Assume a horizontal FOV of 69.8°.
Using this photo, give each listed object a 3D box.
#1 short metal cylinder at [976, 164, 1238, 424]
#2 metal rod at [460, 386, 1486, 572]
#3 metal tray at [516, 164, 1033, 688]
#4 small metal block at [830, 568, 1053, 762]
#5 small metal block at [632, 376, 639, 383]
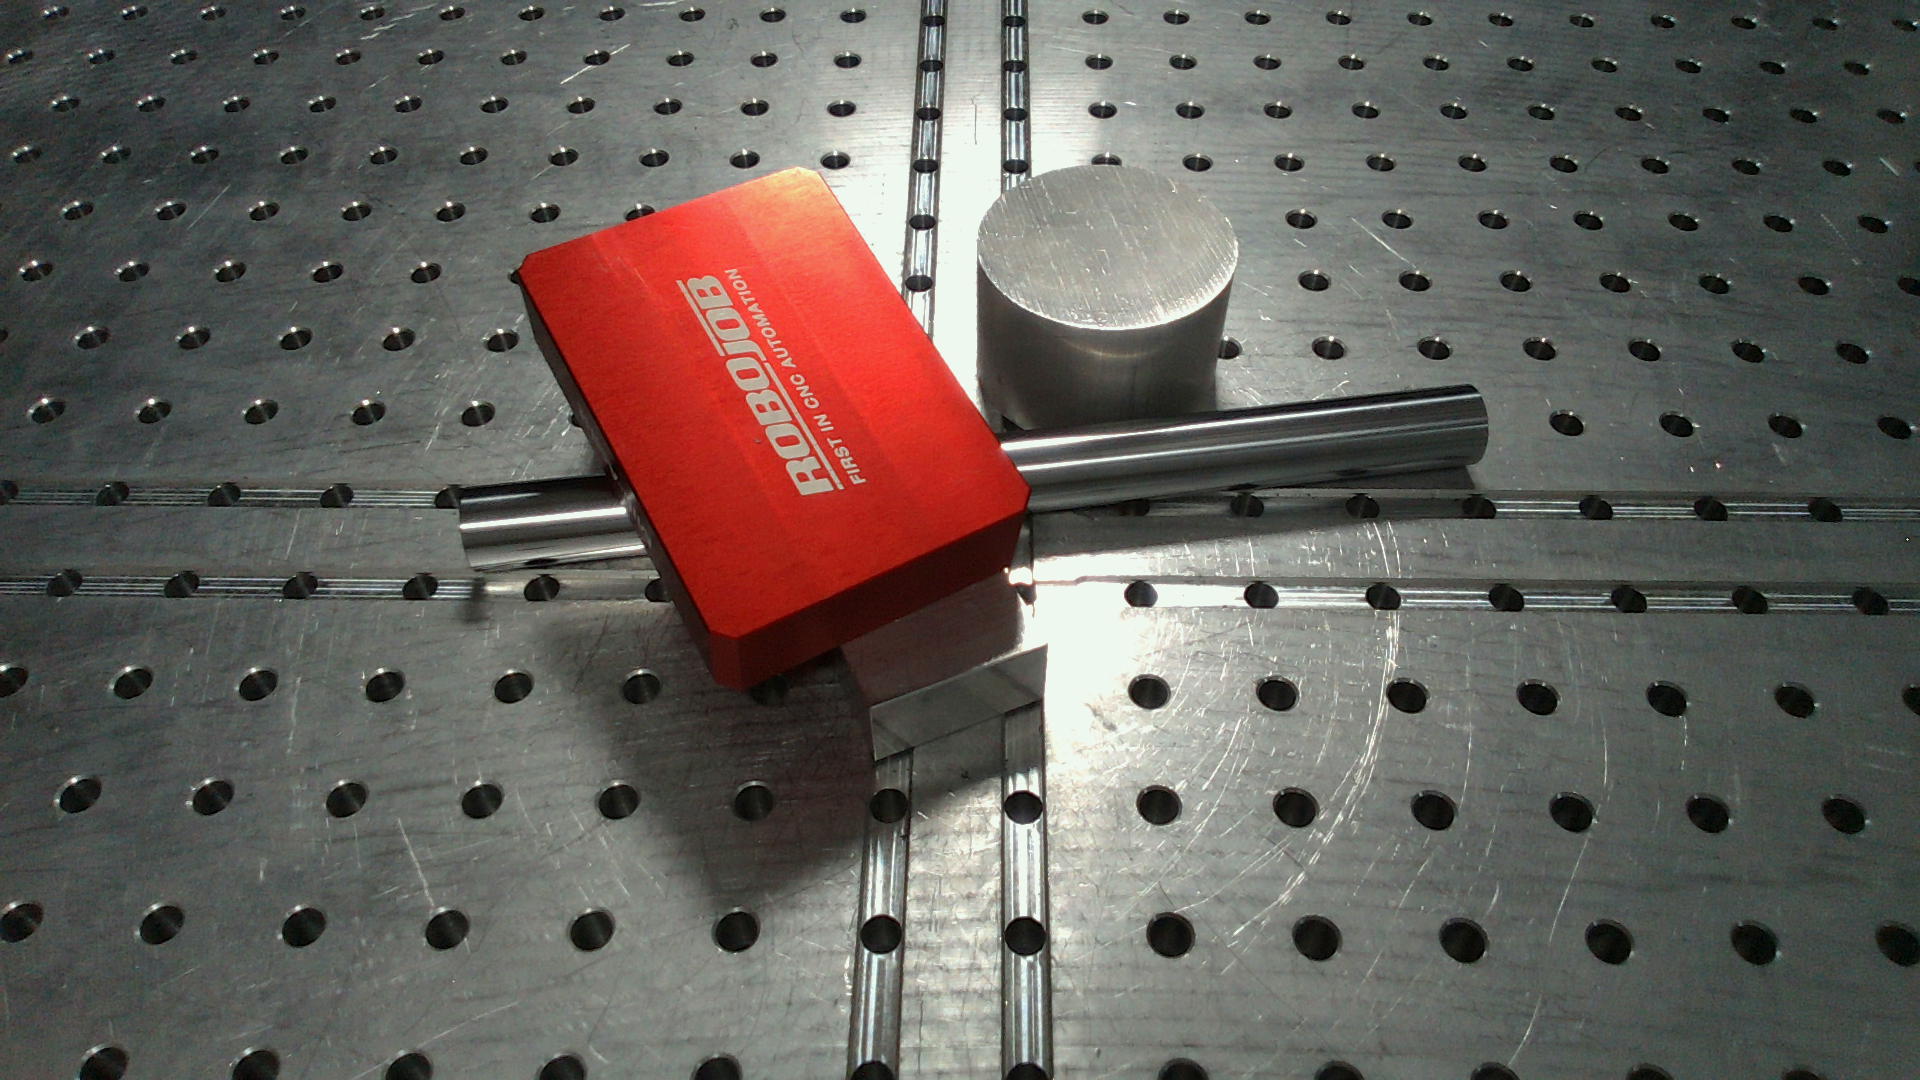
[{"bbox_3d":[0.045,-0.076,0.441,0.080,0.050,0.080,0,50,0],"label":"short metal cylinder"},{"bbox_3d":[0.008,-0.019,0.411,0.300,0.025,0.025,-6,50,-5],"label":"metal rod"},{"bbox_3d":[-0.051,-0.036,0.371,0.090,0.030,0.130,-24,65,-19],"label":"metal tray"},{"bbox_3d":[-0.009,0.025,0.372,0.050,0.025,0.050,-18,52,-15],"label":"small metal block"},{"bbox_3d":[-0.088,-0.067,0.434,0.050,0.050,0.025,-25,54,-20],"label":"small metal block"}]
